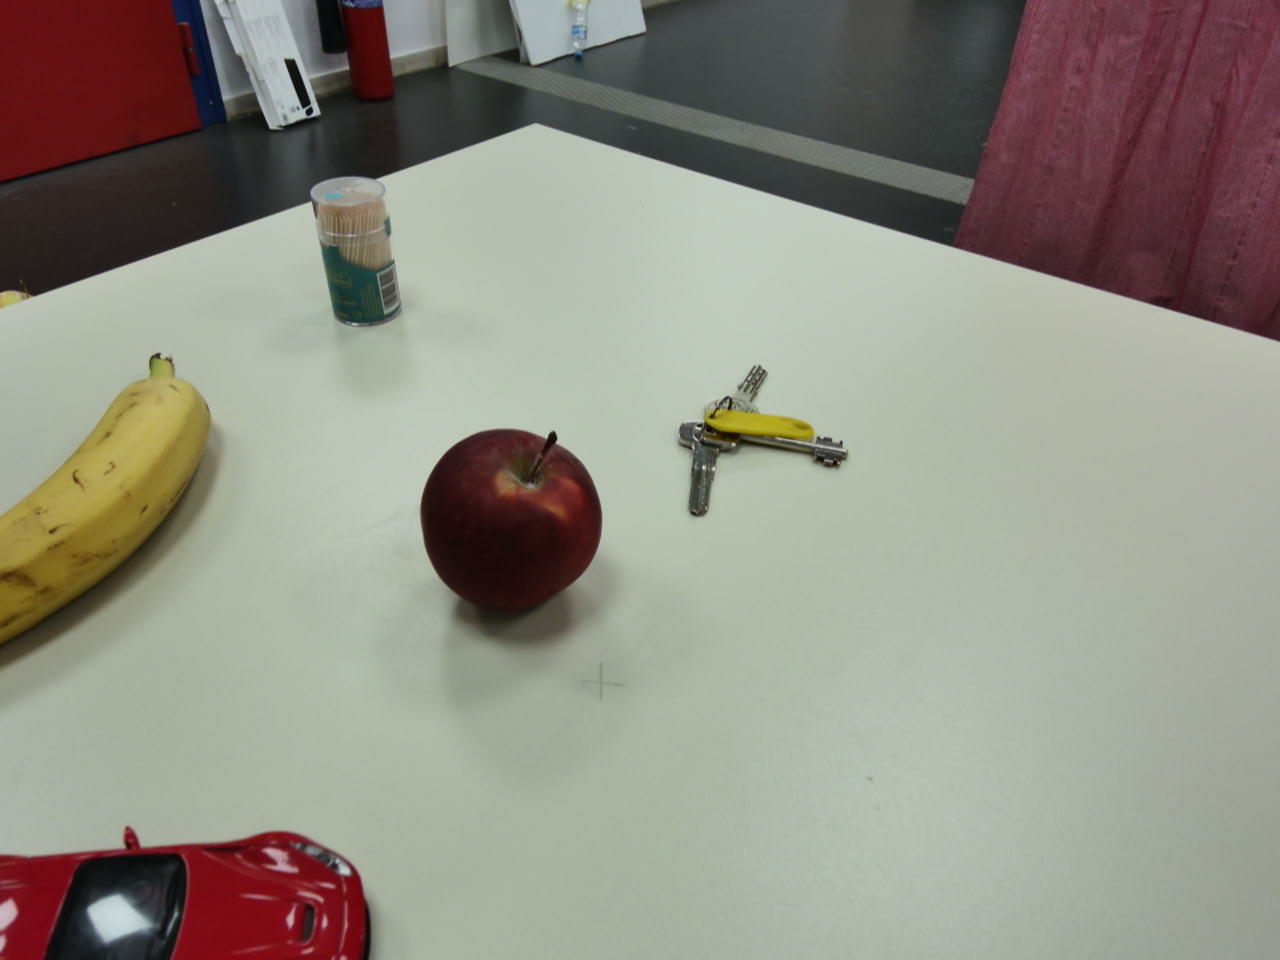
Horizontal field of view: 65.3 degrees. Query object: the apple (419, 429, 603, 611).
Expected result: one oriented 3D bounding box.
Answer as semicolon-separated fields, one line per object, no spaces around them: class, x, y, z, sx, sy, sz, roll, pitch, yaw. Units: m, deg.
apple;-0.050;0.016;0.388;0.070;0.072;0.070;1;36;0
